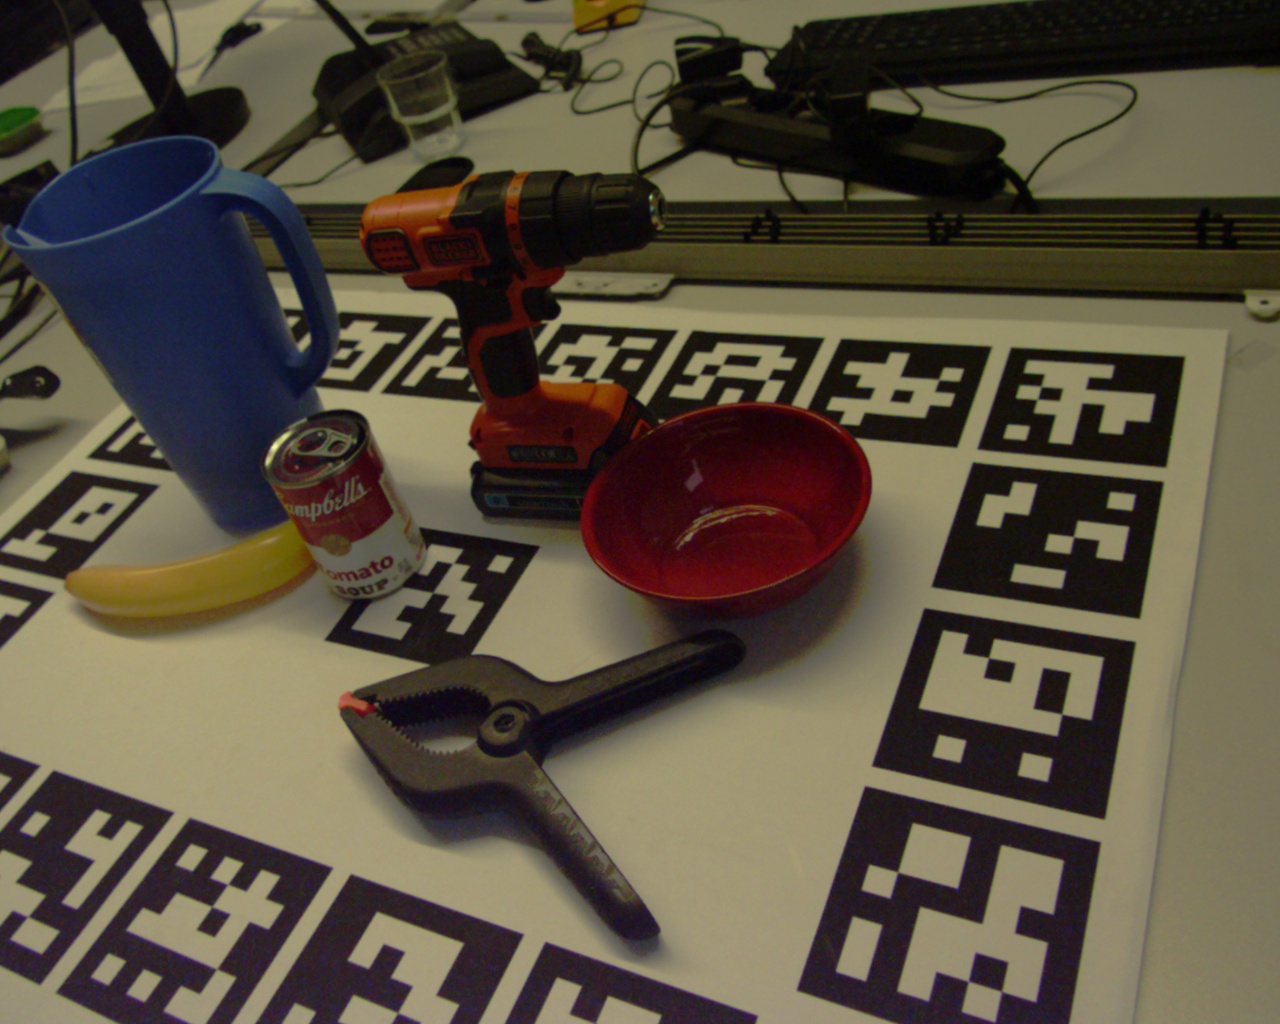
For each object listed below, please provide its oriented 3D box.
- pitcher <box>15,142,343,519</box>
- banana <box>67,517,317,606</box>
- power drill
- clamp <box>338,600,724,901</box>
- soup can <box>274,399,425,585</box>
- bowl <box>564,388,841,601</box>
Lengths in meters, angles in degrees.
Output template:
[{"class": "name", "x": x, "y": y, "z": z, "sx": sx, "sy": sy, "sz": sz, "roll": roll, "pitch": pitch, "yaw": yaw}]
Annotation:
[{"class": "pitcher", "x": -0.287, "y": -0.118, "z": 0.779, "sx": 0.189, "sy": 0.240, "sz": 0.134, "roll": -11, "pitch": 39, "yaw": 9}, {"class": "banana", "x": -0.307, "y": 0.033, "z": 0.781, "sx": 0.198, "sy": 0.038, "sz": 0.074, "roll": -11, "pitch": 34, "yaw": 7}, {"class": "power drill", "x": -0.057, "y": -0.112, "z": 0.699, "sx": 0.186, "sy": 0.185, "sz": 0.057, "roll": 3, "pitch": 46, "yaw": 22}, {"class": "clamp", "x": -0.071, "y": 0.107, "z": 0.604, "sx": 0.205, "sy": 0.036, "sz": 0.165, "roll": 4, "pitch": 51, "yaw": 24}, {"class": "soup can", "x": -0.184, "y": -0.012, "z": 0.734, "sx": 0.068, "sy": 0.101, "sz": 0.068, "roll": -10, "pitch": 35, "yaw": 6}, {"class": "bowl", "x": 0.040, "y": -0.001, "z": 0.670, "sx": 0.162, "sy": 0.055, "sz": 0.162, "roll": -12, "pitch": 44, "yaw": 10}]
